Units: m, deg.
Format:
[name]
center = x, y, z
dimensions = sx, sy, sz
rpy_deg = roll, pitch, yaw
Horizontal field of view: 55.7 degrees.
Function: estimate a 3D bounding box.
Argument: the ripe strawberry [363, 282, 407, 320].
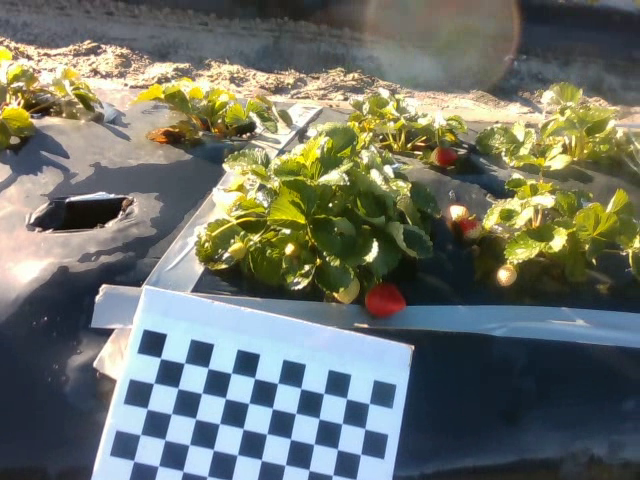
[ripe strawberry]
center = 0.076, 0.069, 0.669
dimensions = 0.048, 0.045, 0.063
rpy_deg = 42, -12, -26
